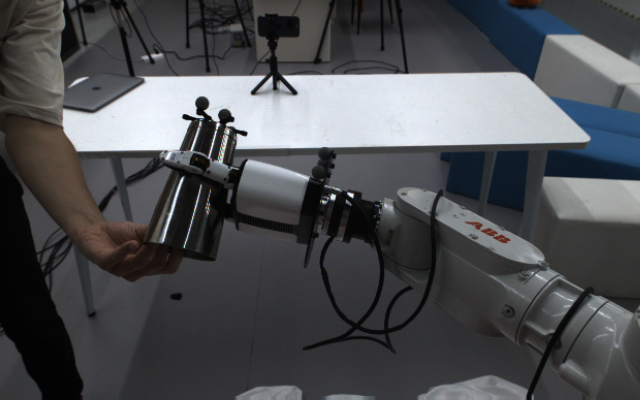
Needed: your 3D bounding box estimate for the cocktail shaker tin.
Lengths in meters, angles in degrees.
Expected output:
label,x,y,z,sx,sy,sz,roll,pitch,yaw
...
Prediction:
label,x,y,z,sx,sy,sz,roll,pitch,yaw
cocktail shaker tin,-0.163,-0.012,0.631,0.093,0.093,0.170,9,74,10
